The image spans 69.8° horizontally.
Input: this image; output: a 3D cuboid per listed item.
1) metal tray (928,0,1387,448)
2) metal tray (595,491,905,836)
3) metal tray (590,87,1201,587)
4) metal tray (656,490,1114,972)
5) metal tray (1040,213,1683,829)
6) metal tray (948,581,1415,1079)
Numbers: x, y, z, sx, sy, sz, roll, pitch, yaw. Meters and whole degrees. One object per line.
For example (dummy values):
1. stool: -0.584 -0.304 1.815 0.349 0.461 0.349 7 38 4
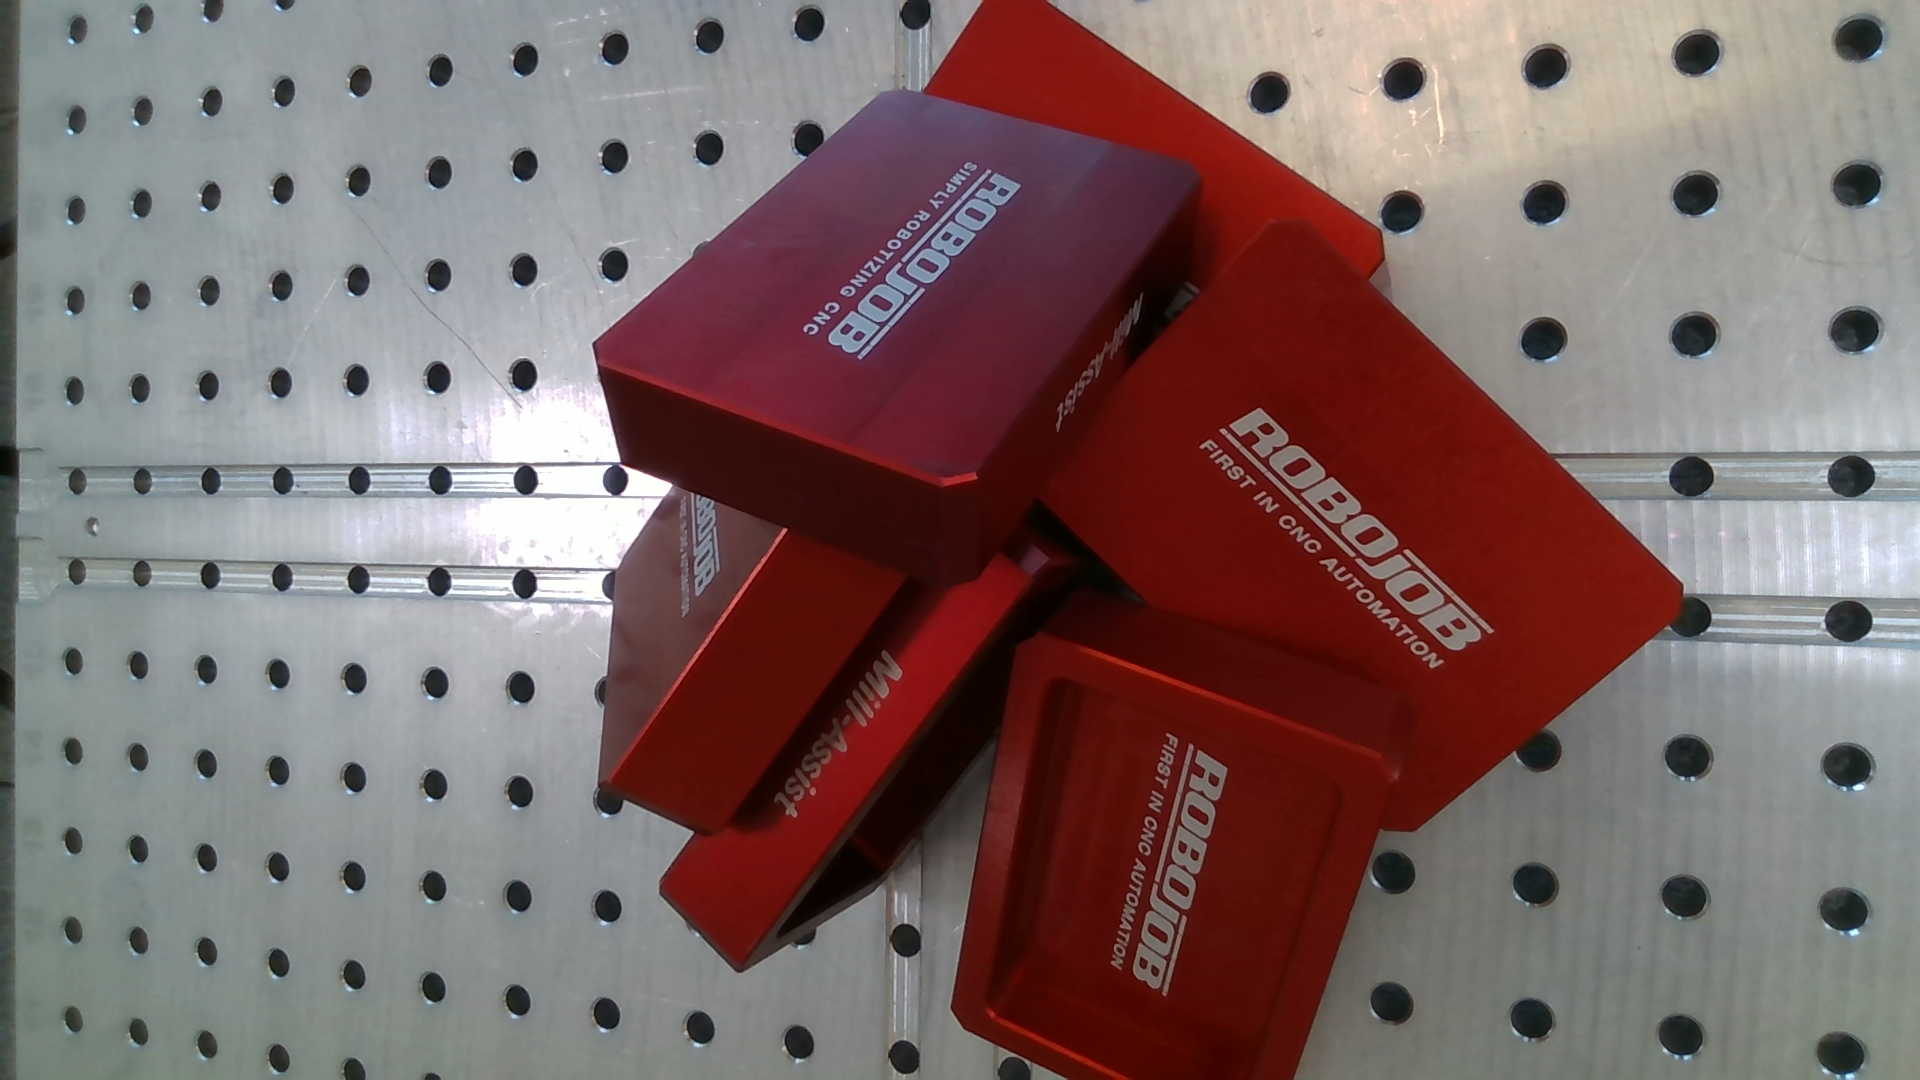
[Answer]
1. metal tray: 0.038 -0.078 0.379 0.130 0.030 0.090 40 104 15
2. metal tray: -0.058 0.005 0.367 0.030 0.130 0.090 32 103 -22
3. metal tray: -0.009 -0.055 0.319 0.090 0.130 0.030 20 139 19
4. metal tray: -0.015 0.047 0.366 0.030 0.090 0.130 40 103 15
5. metal tray: 0.094 -0.005 0.339 0.130 0.030 0.090 44 108 0
6. metal tray: 0.051 0.085 0.350 0.090 0.030 0.130 19 119 19
